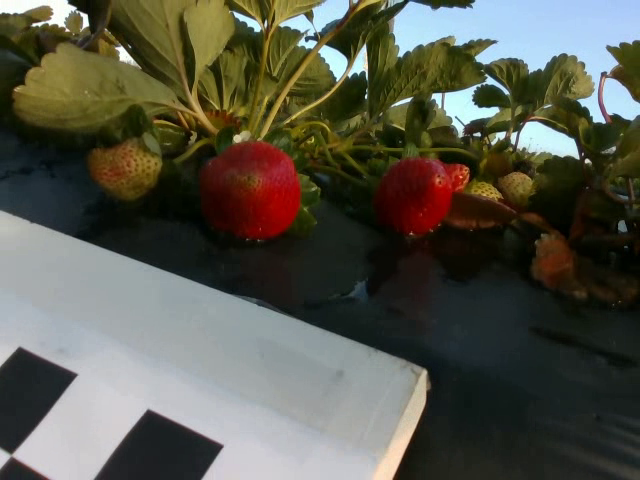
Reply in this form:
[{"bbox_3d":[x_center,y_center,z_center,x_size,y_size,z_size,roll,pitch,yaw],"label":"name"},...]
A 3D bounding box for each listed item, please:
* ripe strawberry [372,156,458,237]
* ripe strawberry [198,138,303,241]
[{"bbox_3d":[0.046,-0.022,0.293,0.044,0.042,0.055,-34,1,-16],"label":"ripe strawberry"},{"bbox_3d":[-0.033,-0.026,0.260,0.050,0.050,0.065,-16,-6,0],"label":"ripe strawberry"}]
